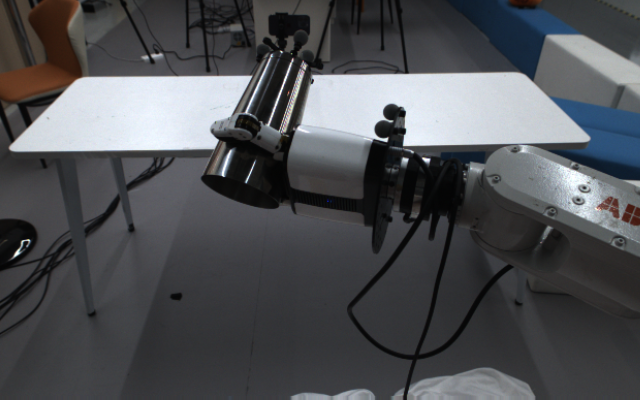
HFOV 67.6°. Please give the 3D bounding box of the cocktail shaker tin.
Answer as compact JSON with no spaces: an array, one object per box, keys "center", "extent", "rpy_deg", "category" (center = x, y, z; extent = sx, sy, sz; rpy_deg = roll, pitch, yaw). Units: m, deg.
[{"center":[-0.066,-0.085,0.566],"extent":[0.093,0.093,0.170],"rpy_deg":[14,72,16],"category":"cocktail shaker tin"}]
